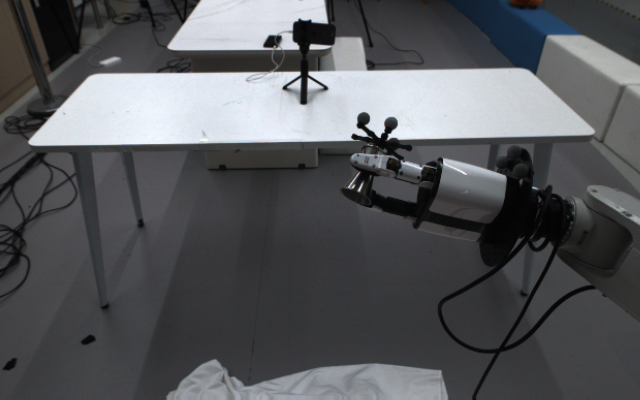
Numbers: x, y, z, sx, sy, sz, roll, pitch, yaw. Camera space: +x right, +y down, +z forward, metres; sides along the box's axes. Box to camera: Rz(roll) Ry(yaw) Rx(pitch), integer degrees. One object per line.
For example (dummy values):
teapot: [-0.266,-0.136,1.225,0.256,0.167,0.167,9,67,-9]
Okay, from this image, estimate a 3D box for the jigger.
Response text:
jigger: [0.059,-0.036,0.630,0.043,0.043,0.071,19,72,23]
